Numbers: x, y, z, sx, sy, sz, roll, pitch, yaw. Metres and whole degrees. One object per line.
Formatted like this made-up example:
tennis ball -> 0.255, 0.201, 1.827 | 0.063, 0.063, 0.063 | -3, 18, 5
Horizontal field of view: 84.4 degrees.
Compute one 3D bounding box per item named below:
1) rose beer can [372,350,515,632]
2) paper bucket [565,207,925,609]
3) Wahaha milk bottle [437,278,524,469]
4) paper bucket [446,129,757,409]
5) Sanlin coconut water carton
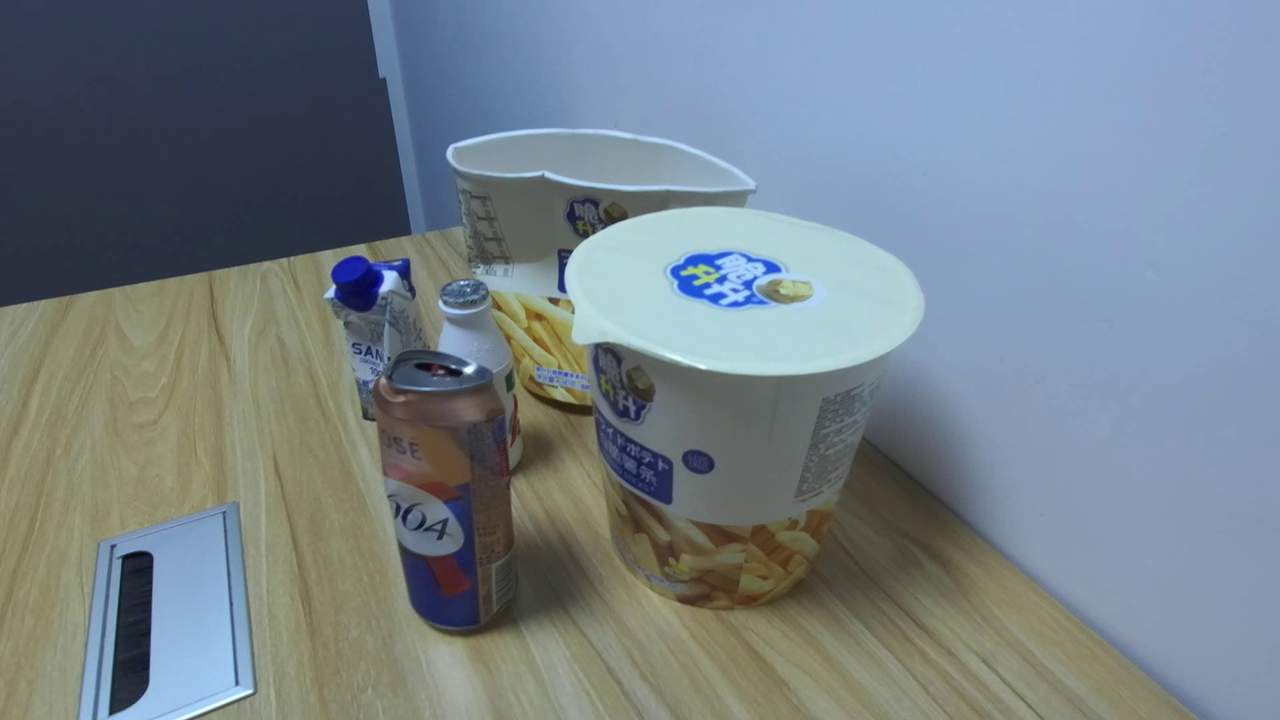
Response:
rose beer can -> -0.106, 0.076, 0.394 | 0.069, 0.168, 0.069 | -2, 29, -8
paper bucket -> 0.055, 0.033, 0.433 | 0.198, 0.195, 0.198 | 1, 34, 0
Wahaha milk bottle -> -0.114, 0.016, 0.499 | 0.053, 0.147, 0.053 | 1, 35, 0
paper bucket -> -0.034, -0.073, 0.582 | 0.218, 0.199, 0.147 | -7, 35, -10
Sanlin coconut water carton -> -0.199, -0.020, 0.549 | 0.060, 0.144, 0.070 | 5, 35, 8
